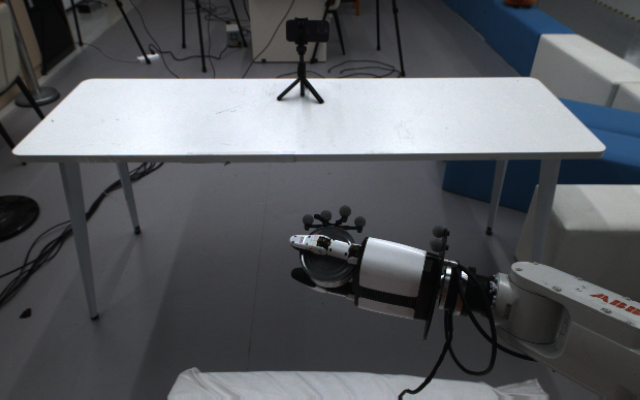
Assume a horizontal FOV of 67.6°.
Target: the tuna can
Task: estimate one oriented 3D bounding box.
[{"bbox_3d":[0.016,0.082,0.707,0.085,0.034,0.085,-4,61,7],"label":"tuna can"}]
